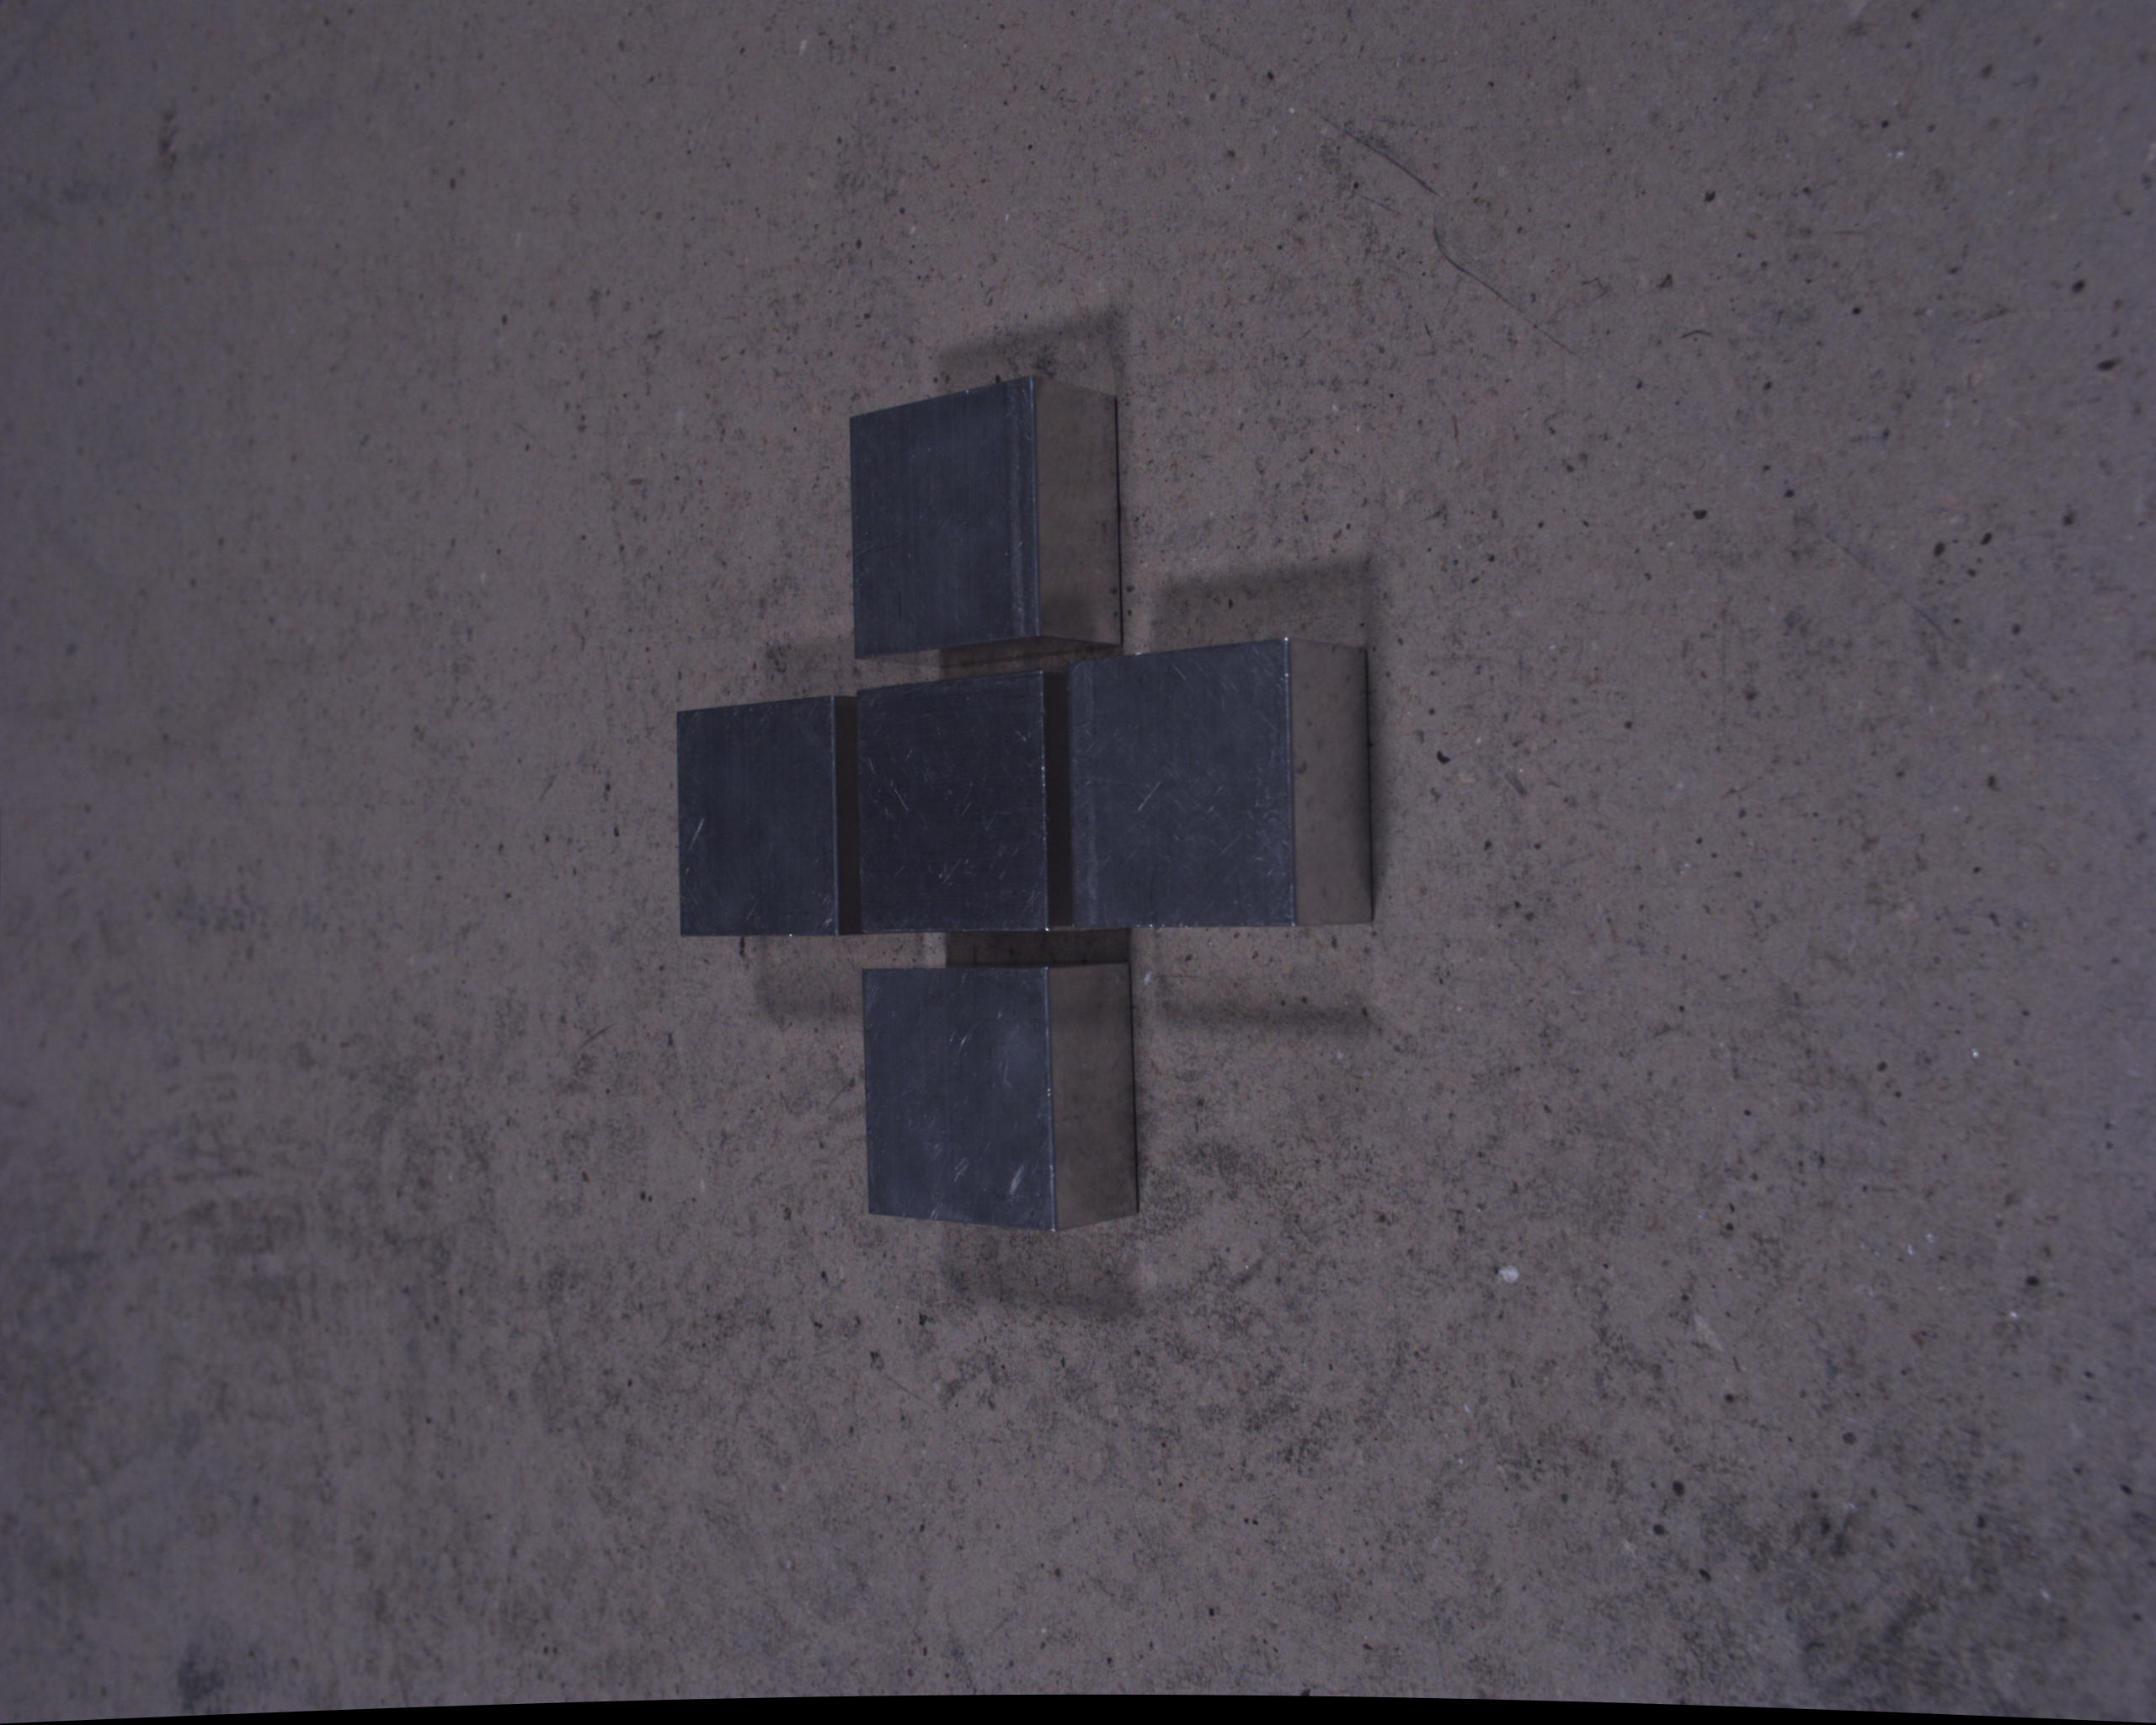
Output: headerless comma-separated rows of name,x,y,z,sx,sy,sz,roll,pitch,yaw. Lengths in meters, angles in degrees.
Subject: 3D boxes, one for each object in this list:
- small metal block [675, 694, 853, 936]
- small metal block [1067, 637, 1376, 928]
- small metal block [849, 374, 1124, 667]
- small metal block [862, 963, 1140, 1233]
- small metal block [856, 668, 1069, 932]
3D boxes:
small metal block,-0.061,-0.009,0.455,0.050,0.025,0.050,-2,89,39
small metal block,0.026,-0.013,0.384,0.050,0.025,0.050,-2,89,39
small metal block,-0.019,-0.067,0.420,0.050,0.025,0.050,-2,89,39
small metal block,-0.016,0.046,0.418,0.050,0.025,0.050,-3,88,39
small metal block,-0.017,-0.011,0.419,0.050,0.025,0.050,-2,89,39
